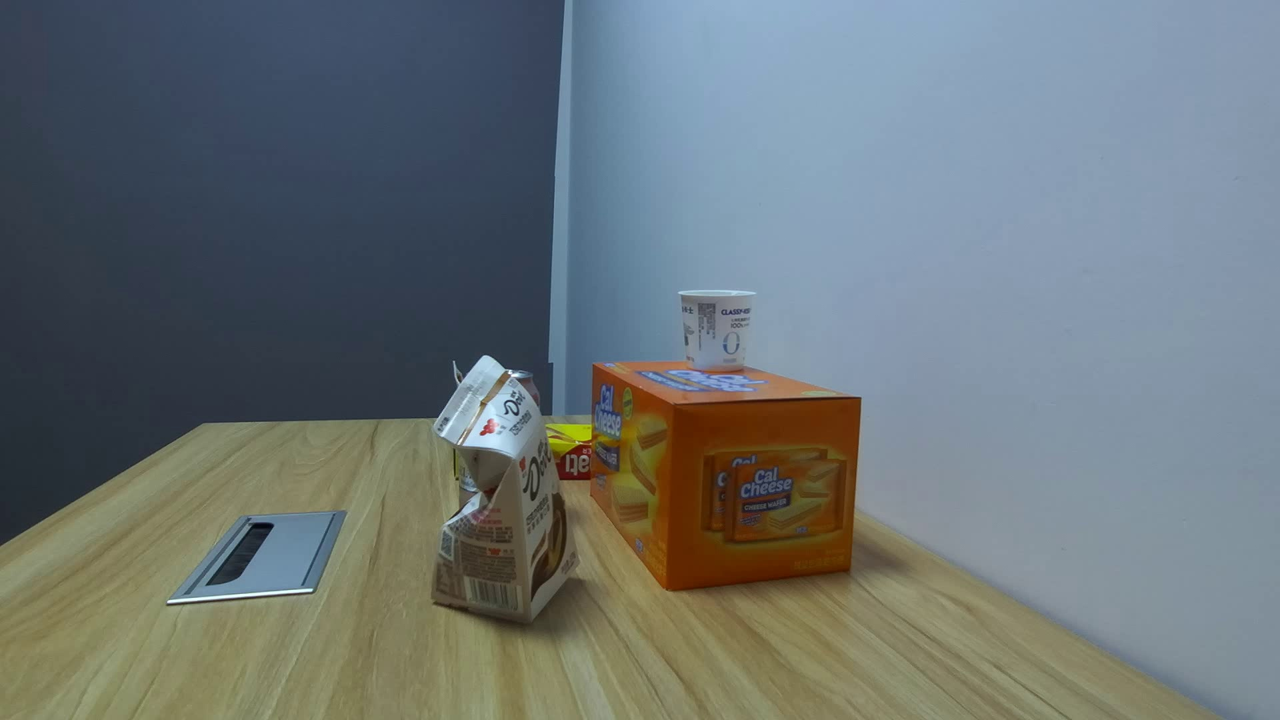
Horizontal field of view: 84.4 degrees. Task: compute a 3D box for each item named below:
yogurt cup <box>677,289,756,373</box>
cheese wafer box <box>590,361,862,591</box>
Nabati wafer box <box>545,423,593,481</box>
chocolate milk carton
[{"bbox_3d":[0.068,-0.027,0.640,0.072,0.068,0.072,0,9,0],"label":"yogurt cup"},{"bbox_3d":[0.058,0.079,0.583,0.149,0.129,0.221,0,7,-17],"label":"cheese wafer box"},{"bbox_3d":[-0.092,0.097,0.754,0.203,0.042,0.096,-4,5,-7],"label":"Nabati wafer box"},{"bbox_3d":[-0.091,0.081,0.444,0.076,0.155,0.089,-1,20,17],"label":"chocolate milk carton"}]
